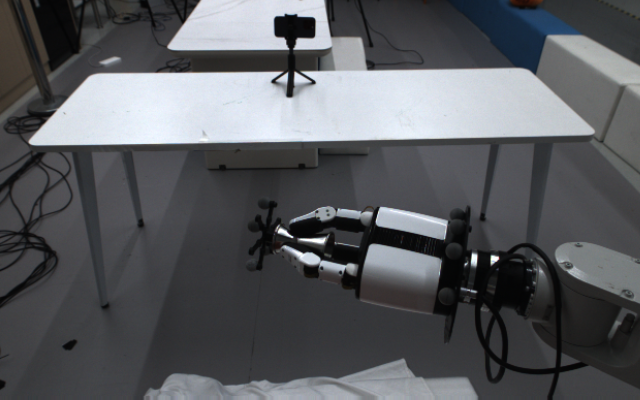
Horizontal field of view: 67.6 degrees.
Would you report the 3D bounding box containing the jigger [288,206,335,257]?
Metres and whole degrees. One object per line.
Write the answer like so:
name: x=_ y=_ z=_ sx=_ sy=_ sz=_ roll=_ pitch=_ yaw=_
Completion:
jigger: x=-0.014 y=0.052 z=0.600 sx=0.071 sy=0.043 sz=0.043 roll=11 pitch=36 yaw=15
